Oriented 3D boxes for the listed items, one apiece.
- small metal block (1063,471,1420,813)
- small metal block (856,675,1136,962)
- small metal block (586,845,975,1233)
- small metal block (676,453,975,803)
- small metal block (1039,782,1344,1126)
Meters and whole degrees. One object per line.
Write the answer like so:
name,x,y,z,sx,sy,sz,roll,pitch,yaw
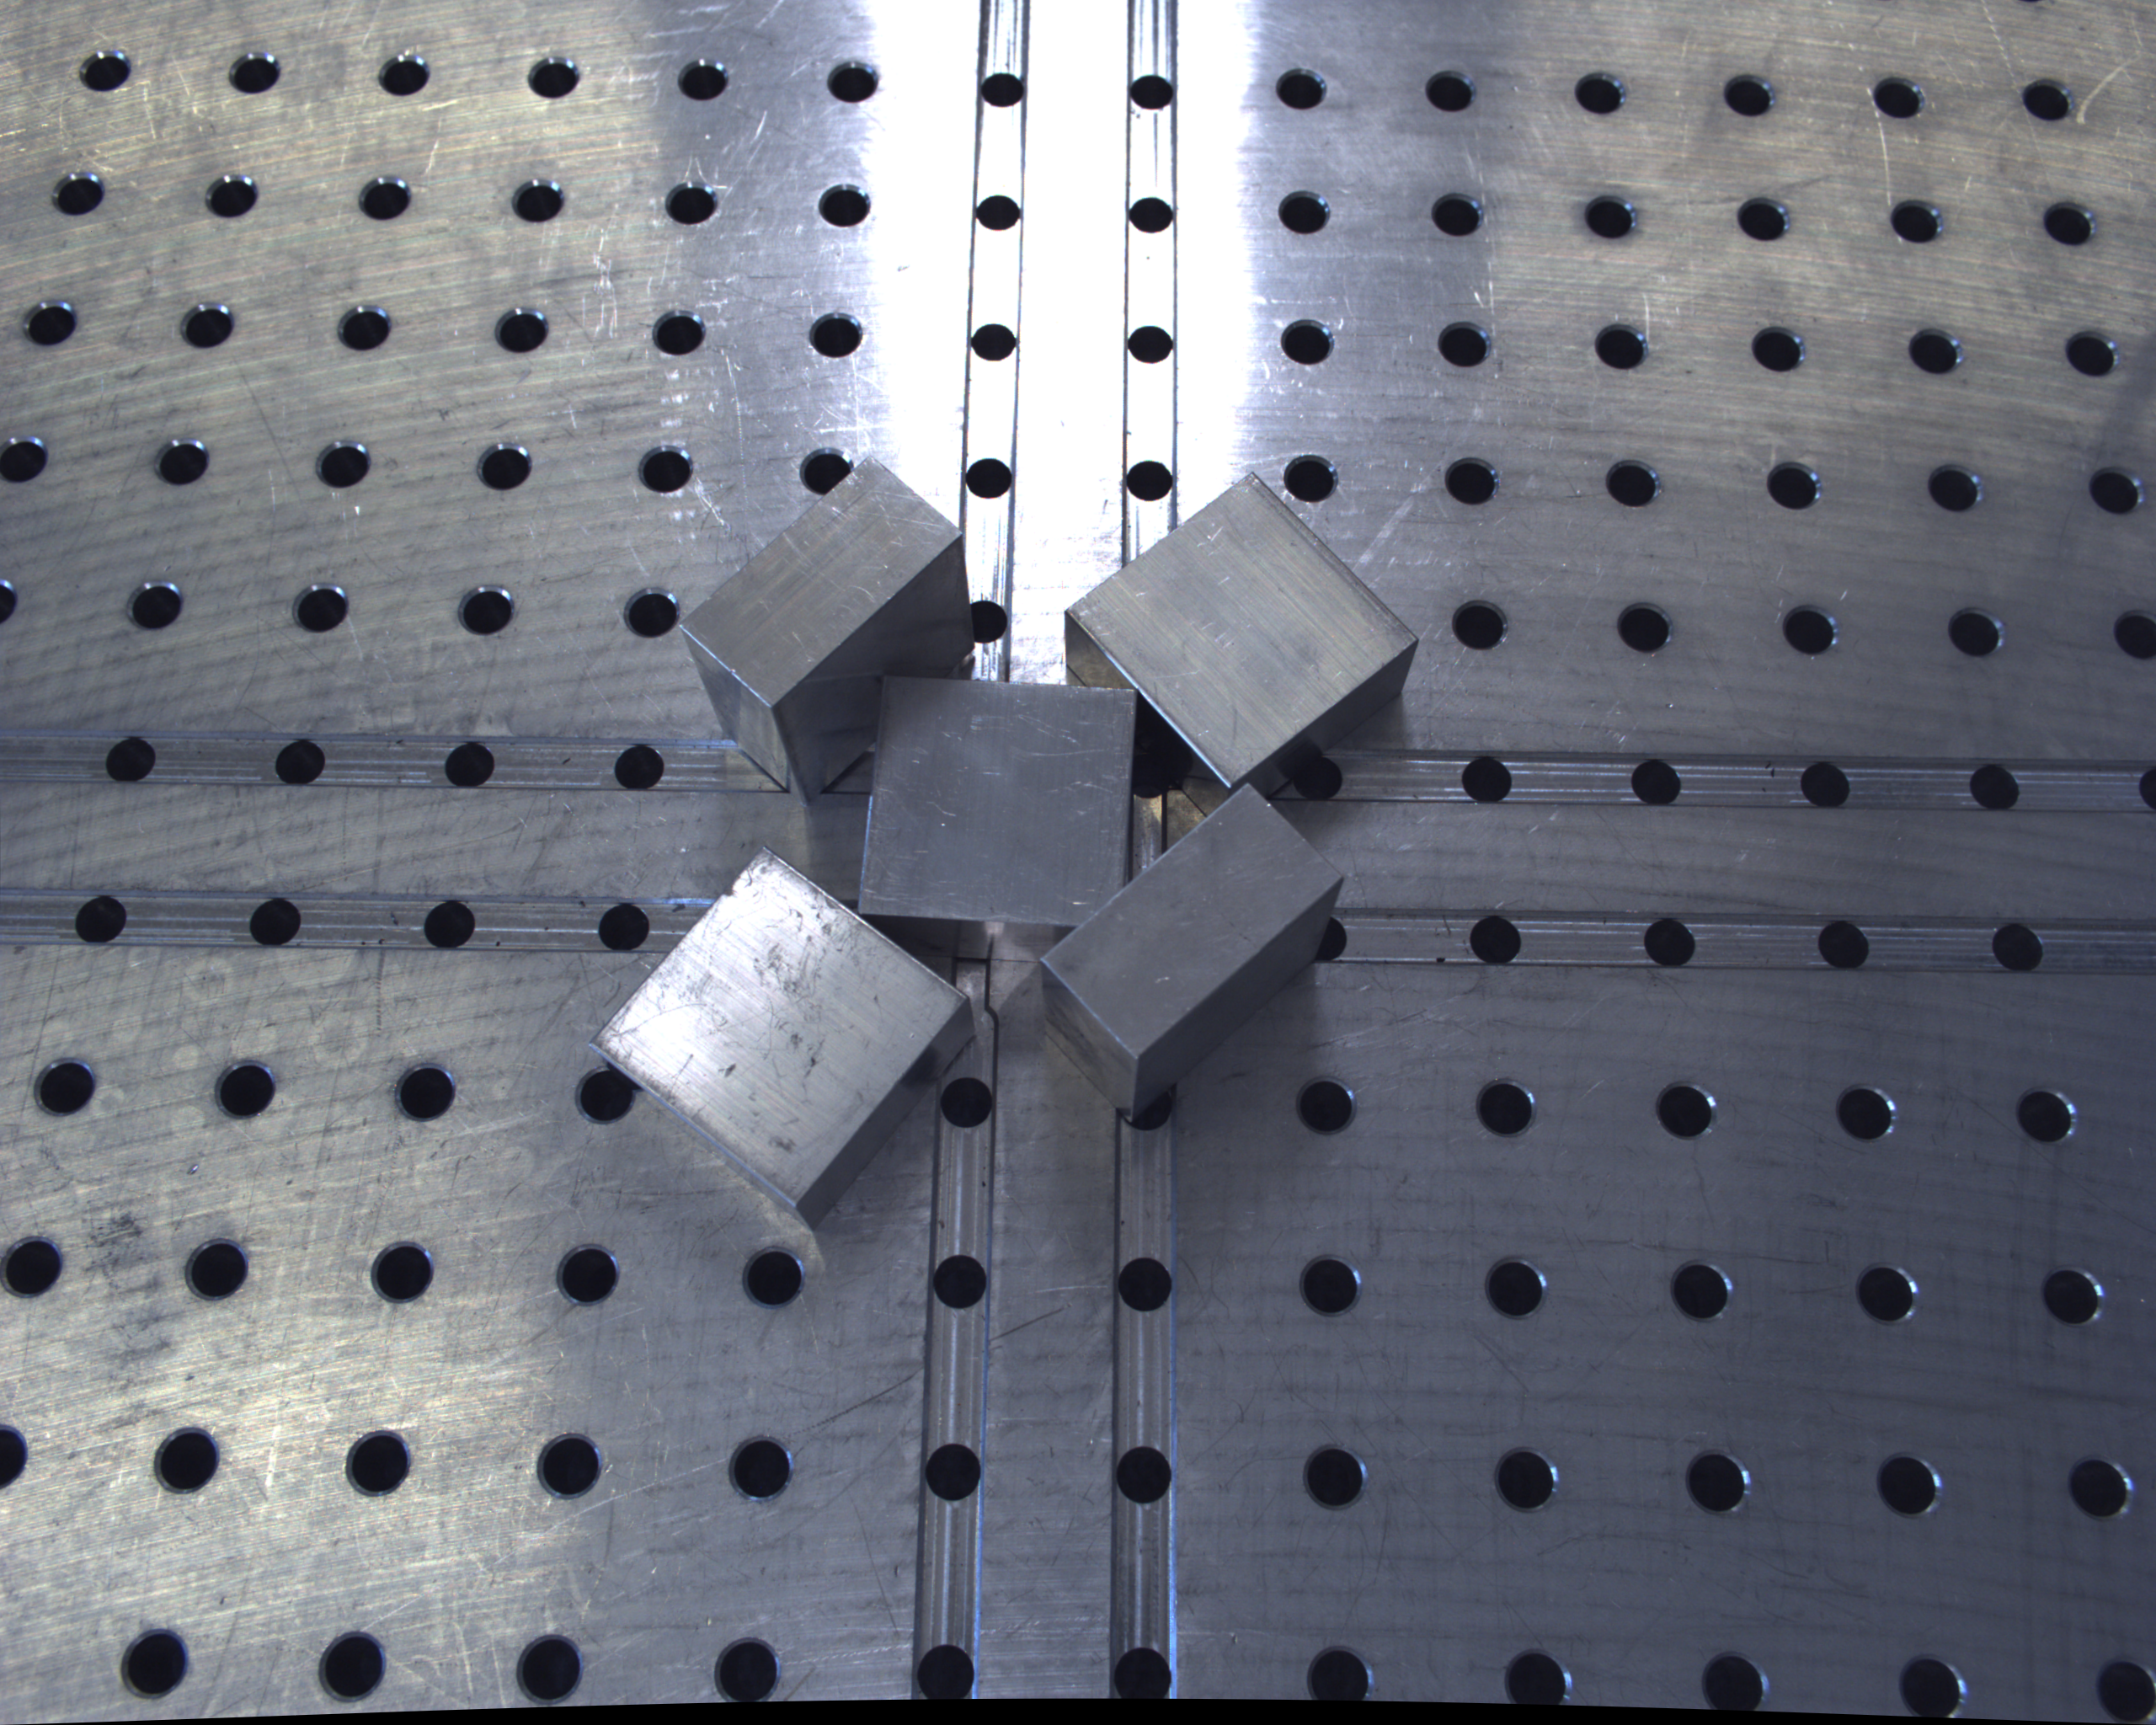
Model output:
small metal block,0.033,-0.043,0.428,0.050,0.025,0.050,-38,75,-12
small metal block,-0.015,-0.008,0.414,0.050,0.025,0.050,3,69,2
small metal block,-0.056,0.034,0.399,0.050,0.025,0.050,36,73,12
small metal block,-0.048,-0.045,0.414,0.025,0.050,0.050,42,76,13
small metal block,0.020,0.018,0.392,0.050,0.050,0.025,-40,75,-13
